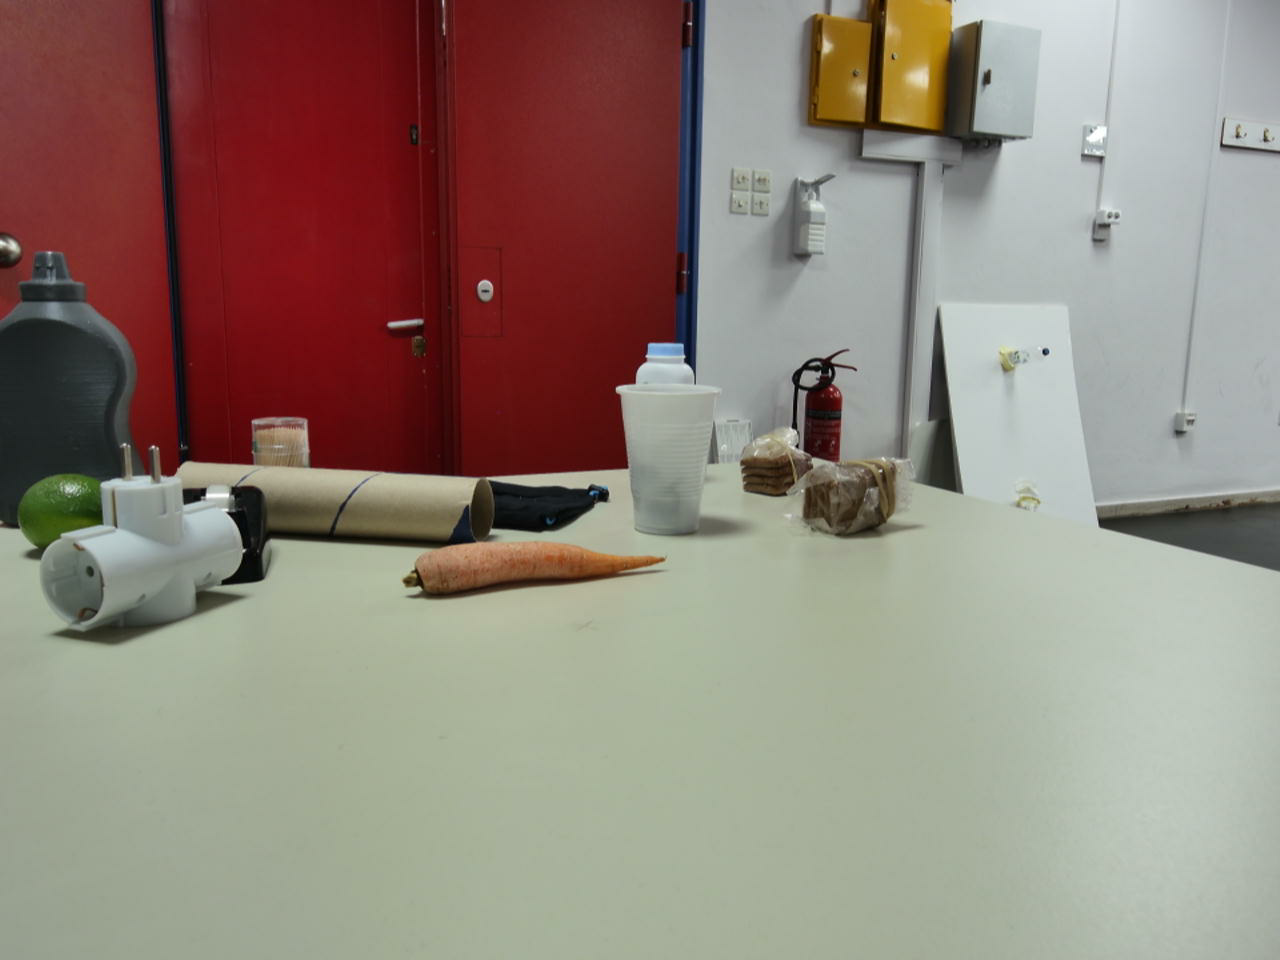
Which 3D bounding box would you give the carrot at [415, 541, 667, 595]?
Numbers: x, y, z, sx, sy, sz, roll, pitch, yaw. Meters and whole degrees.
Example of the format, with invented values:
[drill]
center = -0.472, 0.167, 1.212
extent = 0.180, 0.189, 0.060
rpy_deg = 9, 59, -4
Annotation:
[carrot]
center = -0.060, 0.050, 0.613
extent = 0.163, 0.029, 0.031
rpy_deg = -3, 9, -24
